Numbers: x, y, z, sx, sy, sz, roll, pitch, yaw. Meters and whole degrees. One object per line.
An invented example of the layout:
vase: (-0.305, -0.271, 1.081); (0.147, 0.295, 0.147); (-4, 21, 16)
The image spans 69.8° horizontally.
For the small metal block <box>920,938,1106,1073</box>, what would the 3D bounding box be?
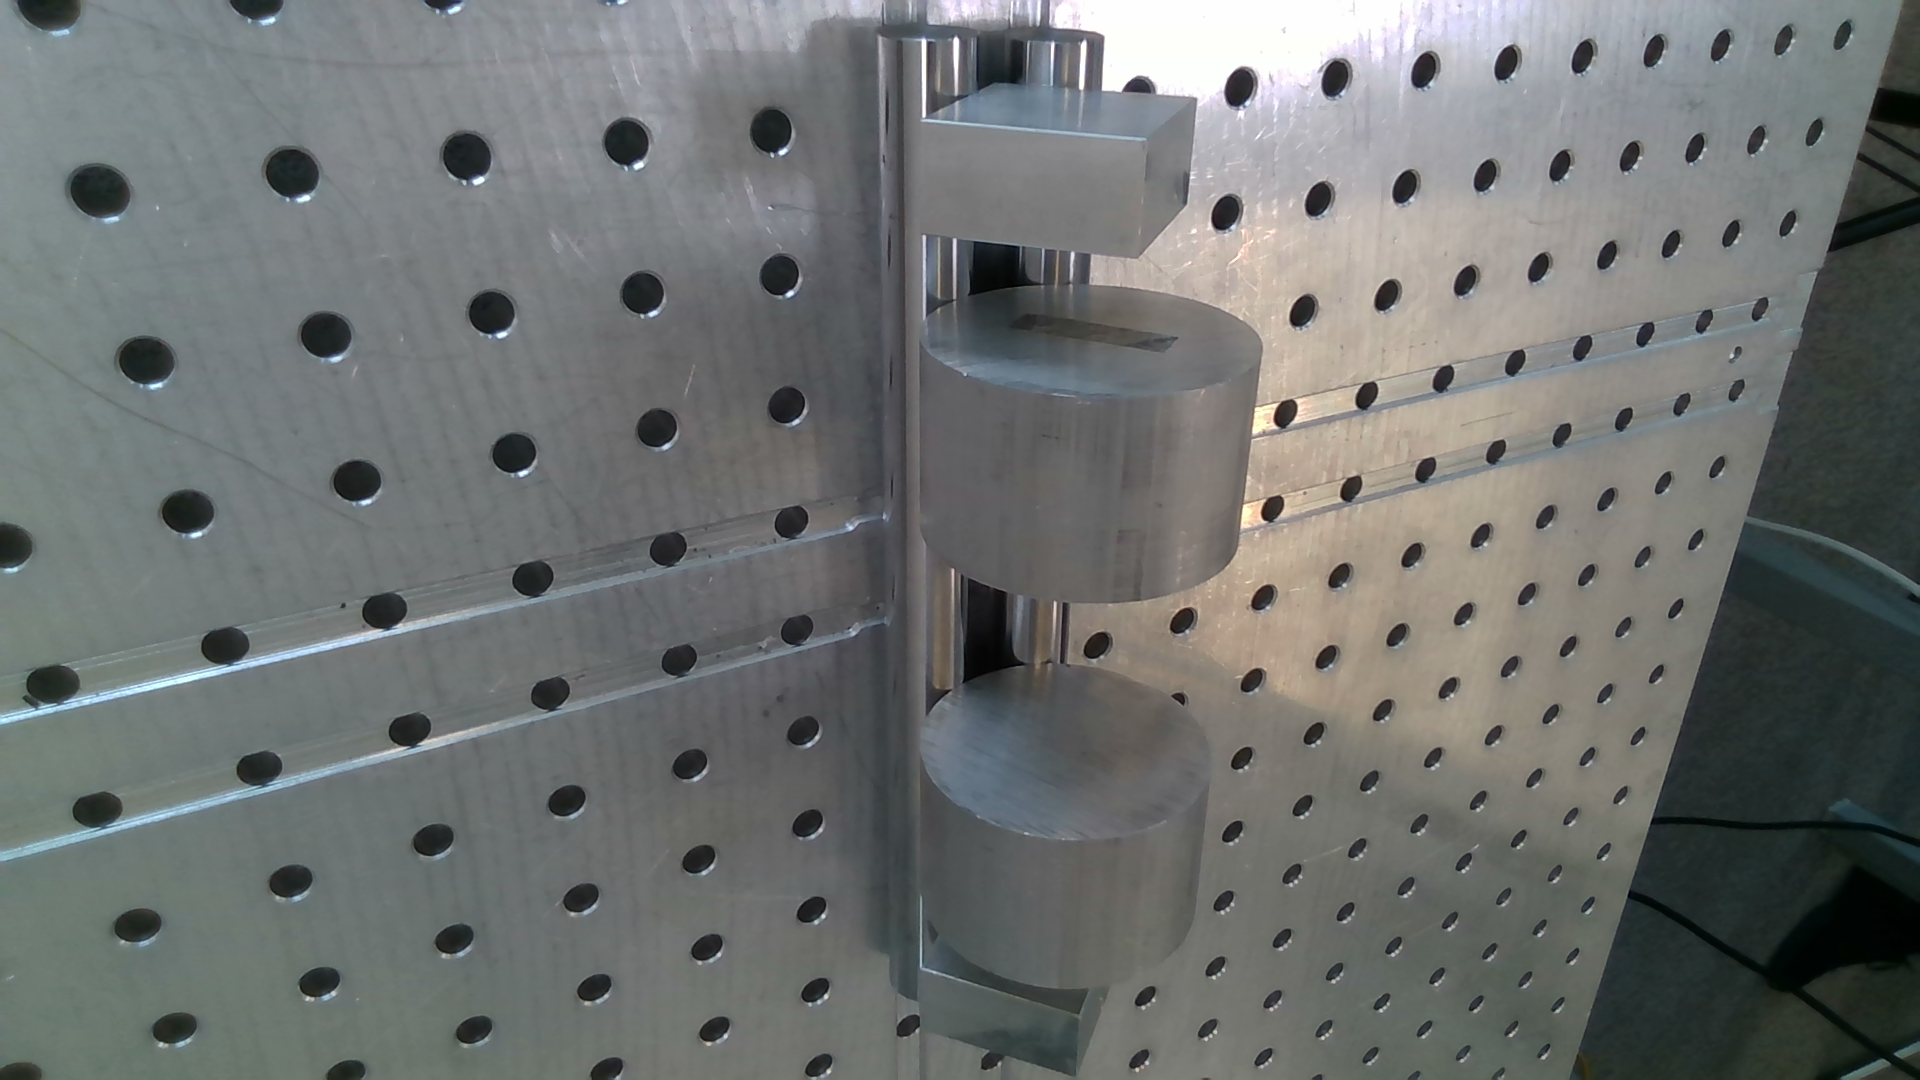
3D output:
small metal block: (0.020, 0.132, 0.431); (0.050, 0.050, 0.025); (-51, 146, -56)

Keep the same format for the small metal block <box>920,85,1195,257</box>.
small metal block: (0.023, -0.086, 0.315); (0.050, 0.050, 0.025); (-53, 148, -57)

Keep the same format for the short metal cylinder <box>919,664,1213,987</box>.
short metal cylinder: (0.029, 0.078, 0.389); (0.080, 0.080, 0.050); (-14, 121, -25)

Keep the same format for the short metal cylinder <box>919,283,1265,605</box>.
short metal cylinder: (0.030, -0.026, 0.334); (0.080, 0.080, 0.050); (-14, 121, -25)

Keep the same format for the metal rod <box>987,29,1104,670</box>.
metal rod: (0.021, 0.008, 0.410); (0.025, 0.025, 0.301); (-14, 121, -25)

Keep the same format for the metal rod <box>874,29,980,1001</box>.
metal rod: (-0.010, 0.014, 0.394); (0.025, 0.025, 0.301); (-14, 121, -25)
